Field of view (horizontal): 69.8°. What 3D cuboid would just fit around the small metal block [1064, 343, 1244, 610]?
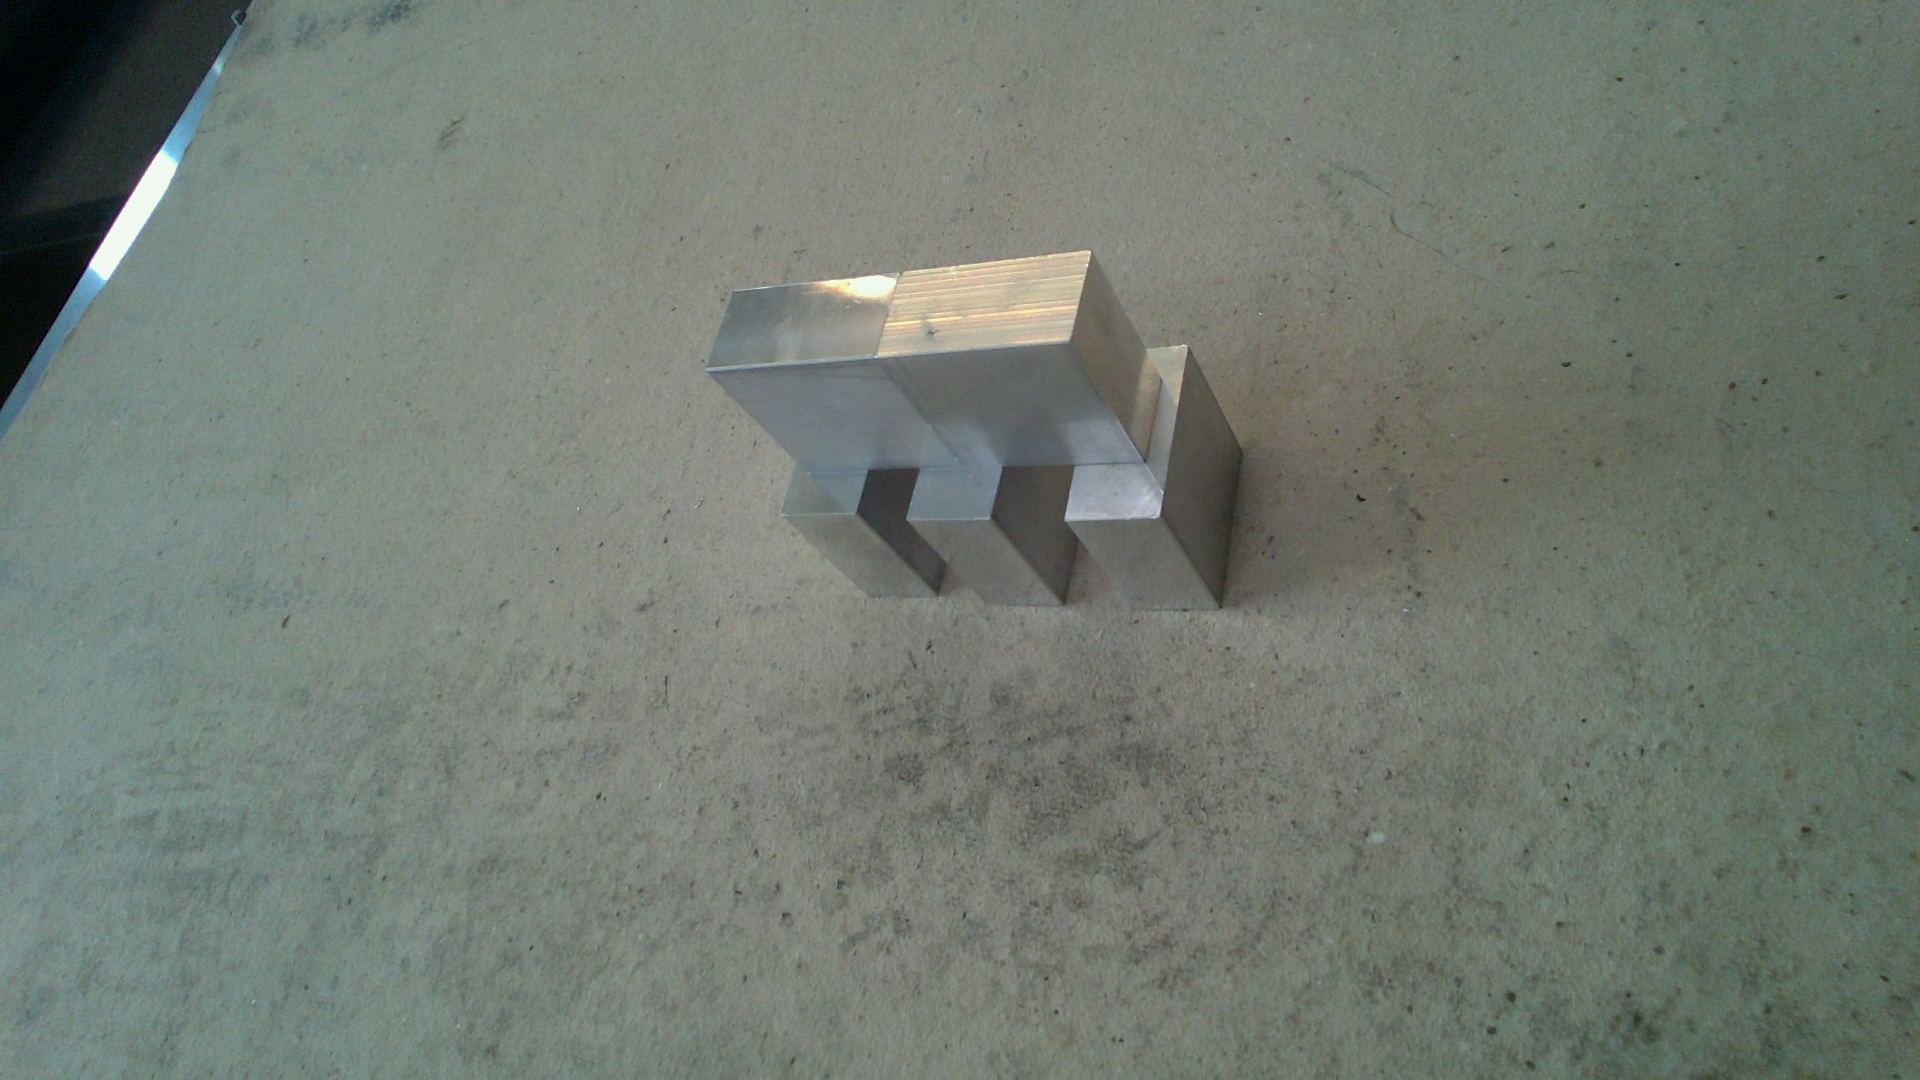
[{"bbox_3d":[0.052,-0.015,0.359,0.025,0.050,0.050,-2,60,28],"label":"small metal block"}]

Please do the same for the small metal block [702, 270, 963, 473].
[{"bbox_3d":[-0.029,-0.042,0.355,0.050,0.050,0.025,0,61,28],"label":"small metal block"}]

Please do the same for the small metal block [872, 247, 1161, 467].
[{"bbox_3d":[0.015,-0.042,0.331,0.050,0.050,0.025,0,61,28],"label":"small metal block"}]

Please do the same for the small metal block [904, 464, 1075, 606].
[{"bbox_3d":[0.013,-0.015,0.381,0.025,0.050,0.050,-2,60,28],"label":"small metal block"}]

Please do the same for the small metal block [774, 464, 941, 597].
[{"bbox_3d":[-0.024,-0.017,0.400,0.025,0.050,0.050,-1,61,29],"label":"small metal block"}]
